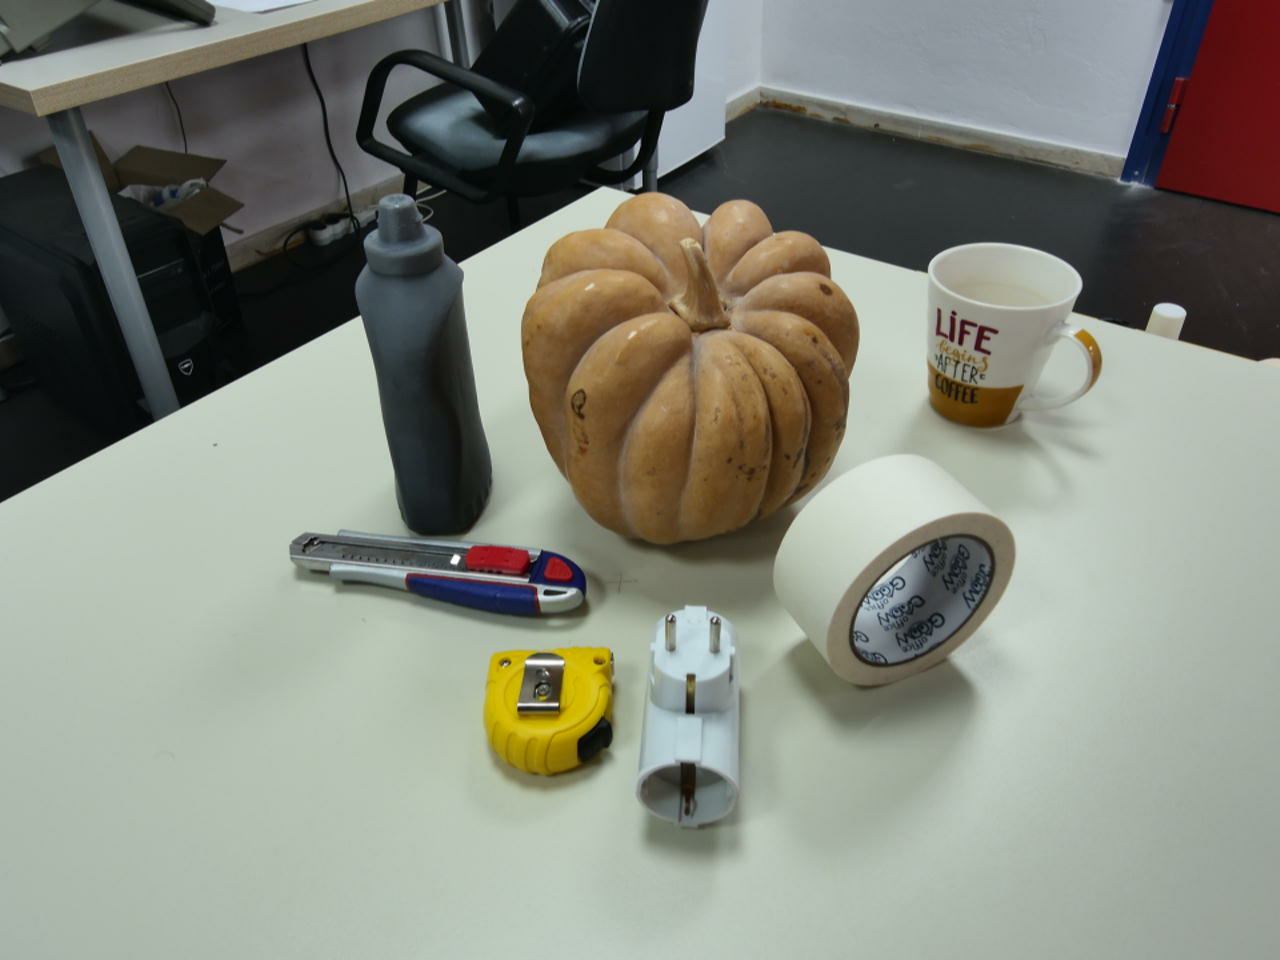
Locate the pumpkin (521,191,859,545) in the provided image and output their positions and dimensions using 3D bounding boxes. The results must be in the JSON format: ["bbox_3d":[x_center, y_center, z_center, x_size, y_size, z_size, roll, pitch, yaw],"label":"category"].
[{"bbox_3d":[0.026,-0.060,0.571,0.199,0.177,0.198,-1,37,0],"label":"pumpkin"}]
